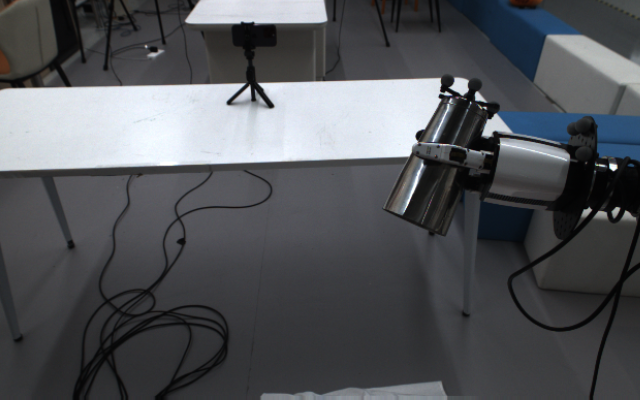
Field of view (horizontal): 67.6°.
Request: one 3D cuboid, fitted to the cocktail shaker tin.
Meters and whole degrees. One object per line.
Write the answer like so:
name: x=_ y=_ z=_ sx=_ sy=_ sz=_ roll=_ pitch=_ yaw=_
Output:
cocktail shaker tin: x=0.162 y=-0.051 z=0.648 sx=0.093 sy=0.170 sz=0.093 roll=23 pitch=0 yaw=0
